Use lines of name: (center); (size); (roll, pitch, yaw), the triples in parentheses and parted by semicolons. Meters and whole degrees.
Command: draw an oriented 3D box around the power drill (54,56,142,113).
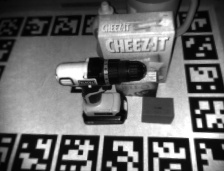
power drill: (-0.024, 0.001, 0.492); (0.184, 0.188, 0.057); (-1, 59, 6)

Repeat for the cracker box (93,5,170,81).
cracker box: (0.055, -0.089, 0.547); (0.163, 0.215, 0.072); (-3, 61, 9)

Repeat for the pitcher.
pitcher: (0.109, -0.181, 0.583); (0.188, 0.244, 0.133); (5, 64, 12)

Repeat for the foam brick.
foam brick: (0.107, 0.052, 0.567); (0.078, 0.052, 0.052); (3, 65, 8)

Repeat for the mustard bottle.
mustard bottle: (-0.021, -0.177, 0.608); (0.095, 0.193, 0.058); (12, 66, 14)

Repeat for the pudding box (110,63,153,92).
pudding box: (0.051, -0.021, 0.574); (0.113, 0.091, 0.038); (0, 61, 10)
